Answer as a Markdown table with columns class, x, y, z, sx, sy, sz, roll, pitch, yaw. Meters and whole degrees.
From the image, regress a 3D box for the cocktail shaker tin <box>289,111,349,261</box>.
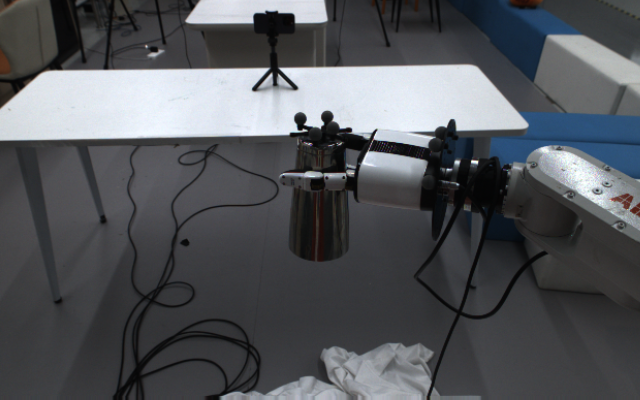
| class | x | y | z | sx | sy | sz | roll | pitch | yaw |
| --- | --- | --- | --- | --- | --- | --- | --- | --- | --- |
| cocktail shaker tin | 0.002 | -0.011 | 0.699 | 0.093 | 0.170 | 0.093 | 1 | 27 | -1 |
